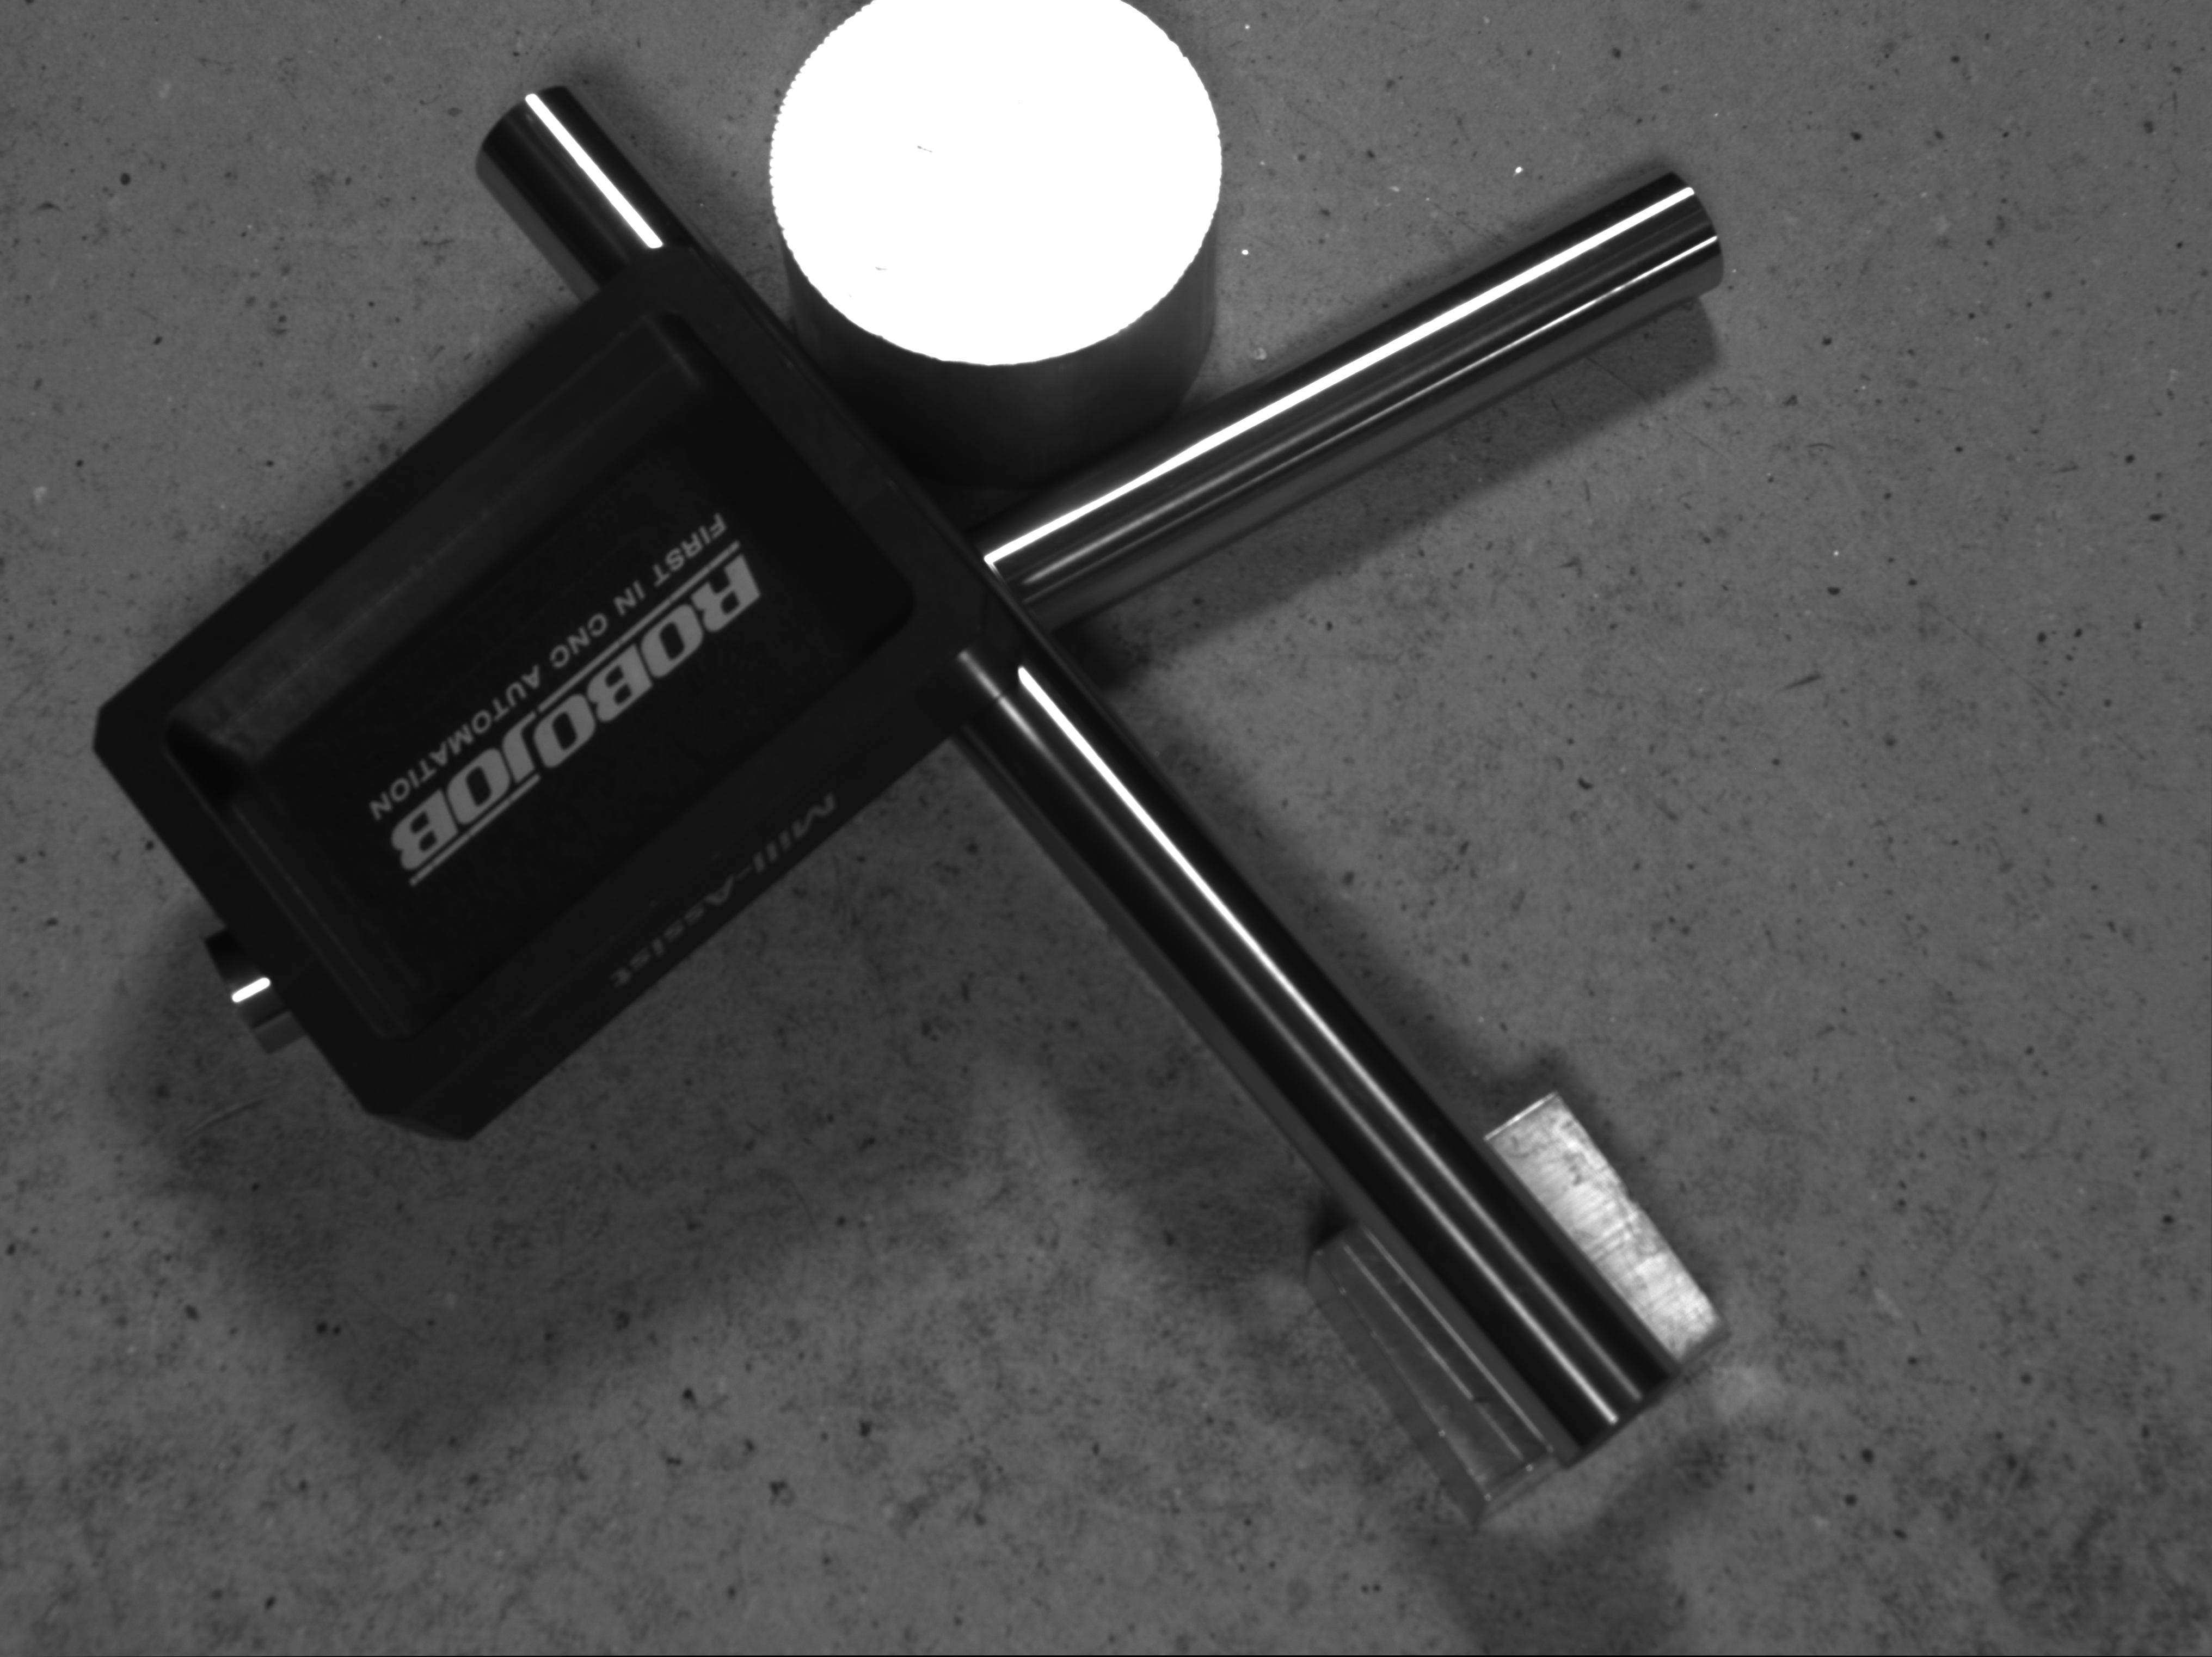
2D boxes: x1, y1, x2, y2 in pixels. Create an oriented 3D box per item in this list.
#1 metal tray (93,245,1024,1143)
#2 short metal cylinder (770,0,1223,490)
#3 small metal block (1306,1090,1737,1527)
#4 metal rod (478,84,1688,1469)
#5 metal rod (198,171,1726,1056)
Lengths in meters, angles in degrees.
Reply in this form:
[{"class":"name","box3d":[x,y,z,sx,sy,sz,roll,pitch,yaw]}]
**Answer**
[{"class":"metal tray","box3d":[-0.091,-0.022,0.609,0.130,0.030,0.090,-40,74,-1]},{"class":"short metal cylinder","box3d":[-0.019,-0.109,0.671,0.080,0.050,0.080,0,70,0]},{"class":"small metal block","box3d":[0.069,0.081,0.615,0.050,0.025,0.050,-32,73,-11]},{"class":"metal rod","box3d":[-0.010,-0.016,0.625,0.025,0.025,0.300,-37,74,-12]},{"class":"metal rod","box3d":[-0.021,-0.042,0.660,0.300,0.025,0.025,-28,72,-10]}]
